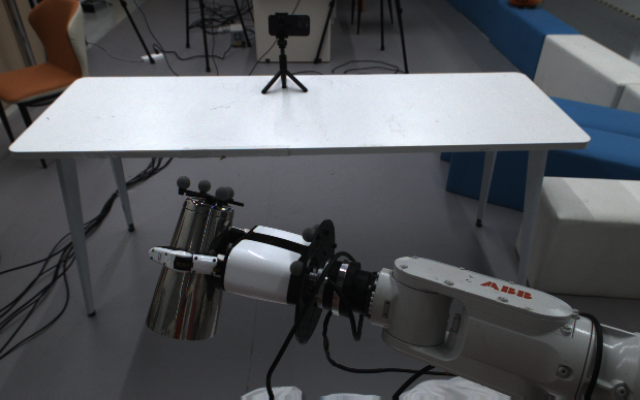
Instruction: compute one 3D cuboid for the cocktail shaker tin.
[{"bbox_3d":[-0.165,0.088,0.642,0.093,0.170,0.093,13,2,0],"label":"cocktail shaker tin"}]
